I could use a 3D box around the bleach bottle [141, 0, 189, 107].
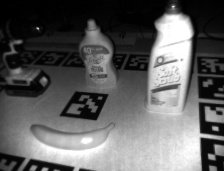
[{"bbox_3d":[0.113,-0.064,0.485,0.101,0.252,0.068,10,44,21],"label":"bleach bottle"}]

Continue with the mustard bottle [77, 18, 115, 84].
[{"bbox_3d":[-0.049,-0.094,0.600,0.096,0.193,0.058,-1,41,8],"label":"mustard bottle"}]

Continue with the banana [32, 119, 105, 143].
[{"bbox_3d":[-0.099,0.093,0.489,0.196,0.039,0.074,-1,42,13],"label":"banana"}]

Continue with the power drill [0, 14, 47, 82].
[{"bbox_3d":[-0.246,-0.100,0.594,0.183,0.188,0.057,-3,40,13],"label":"power drill"}]
